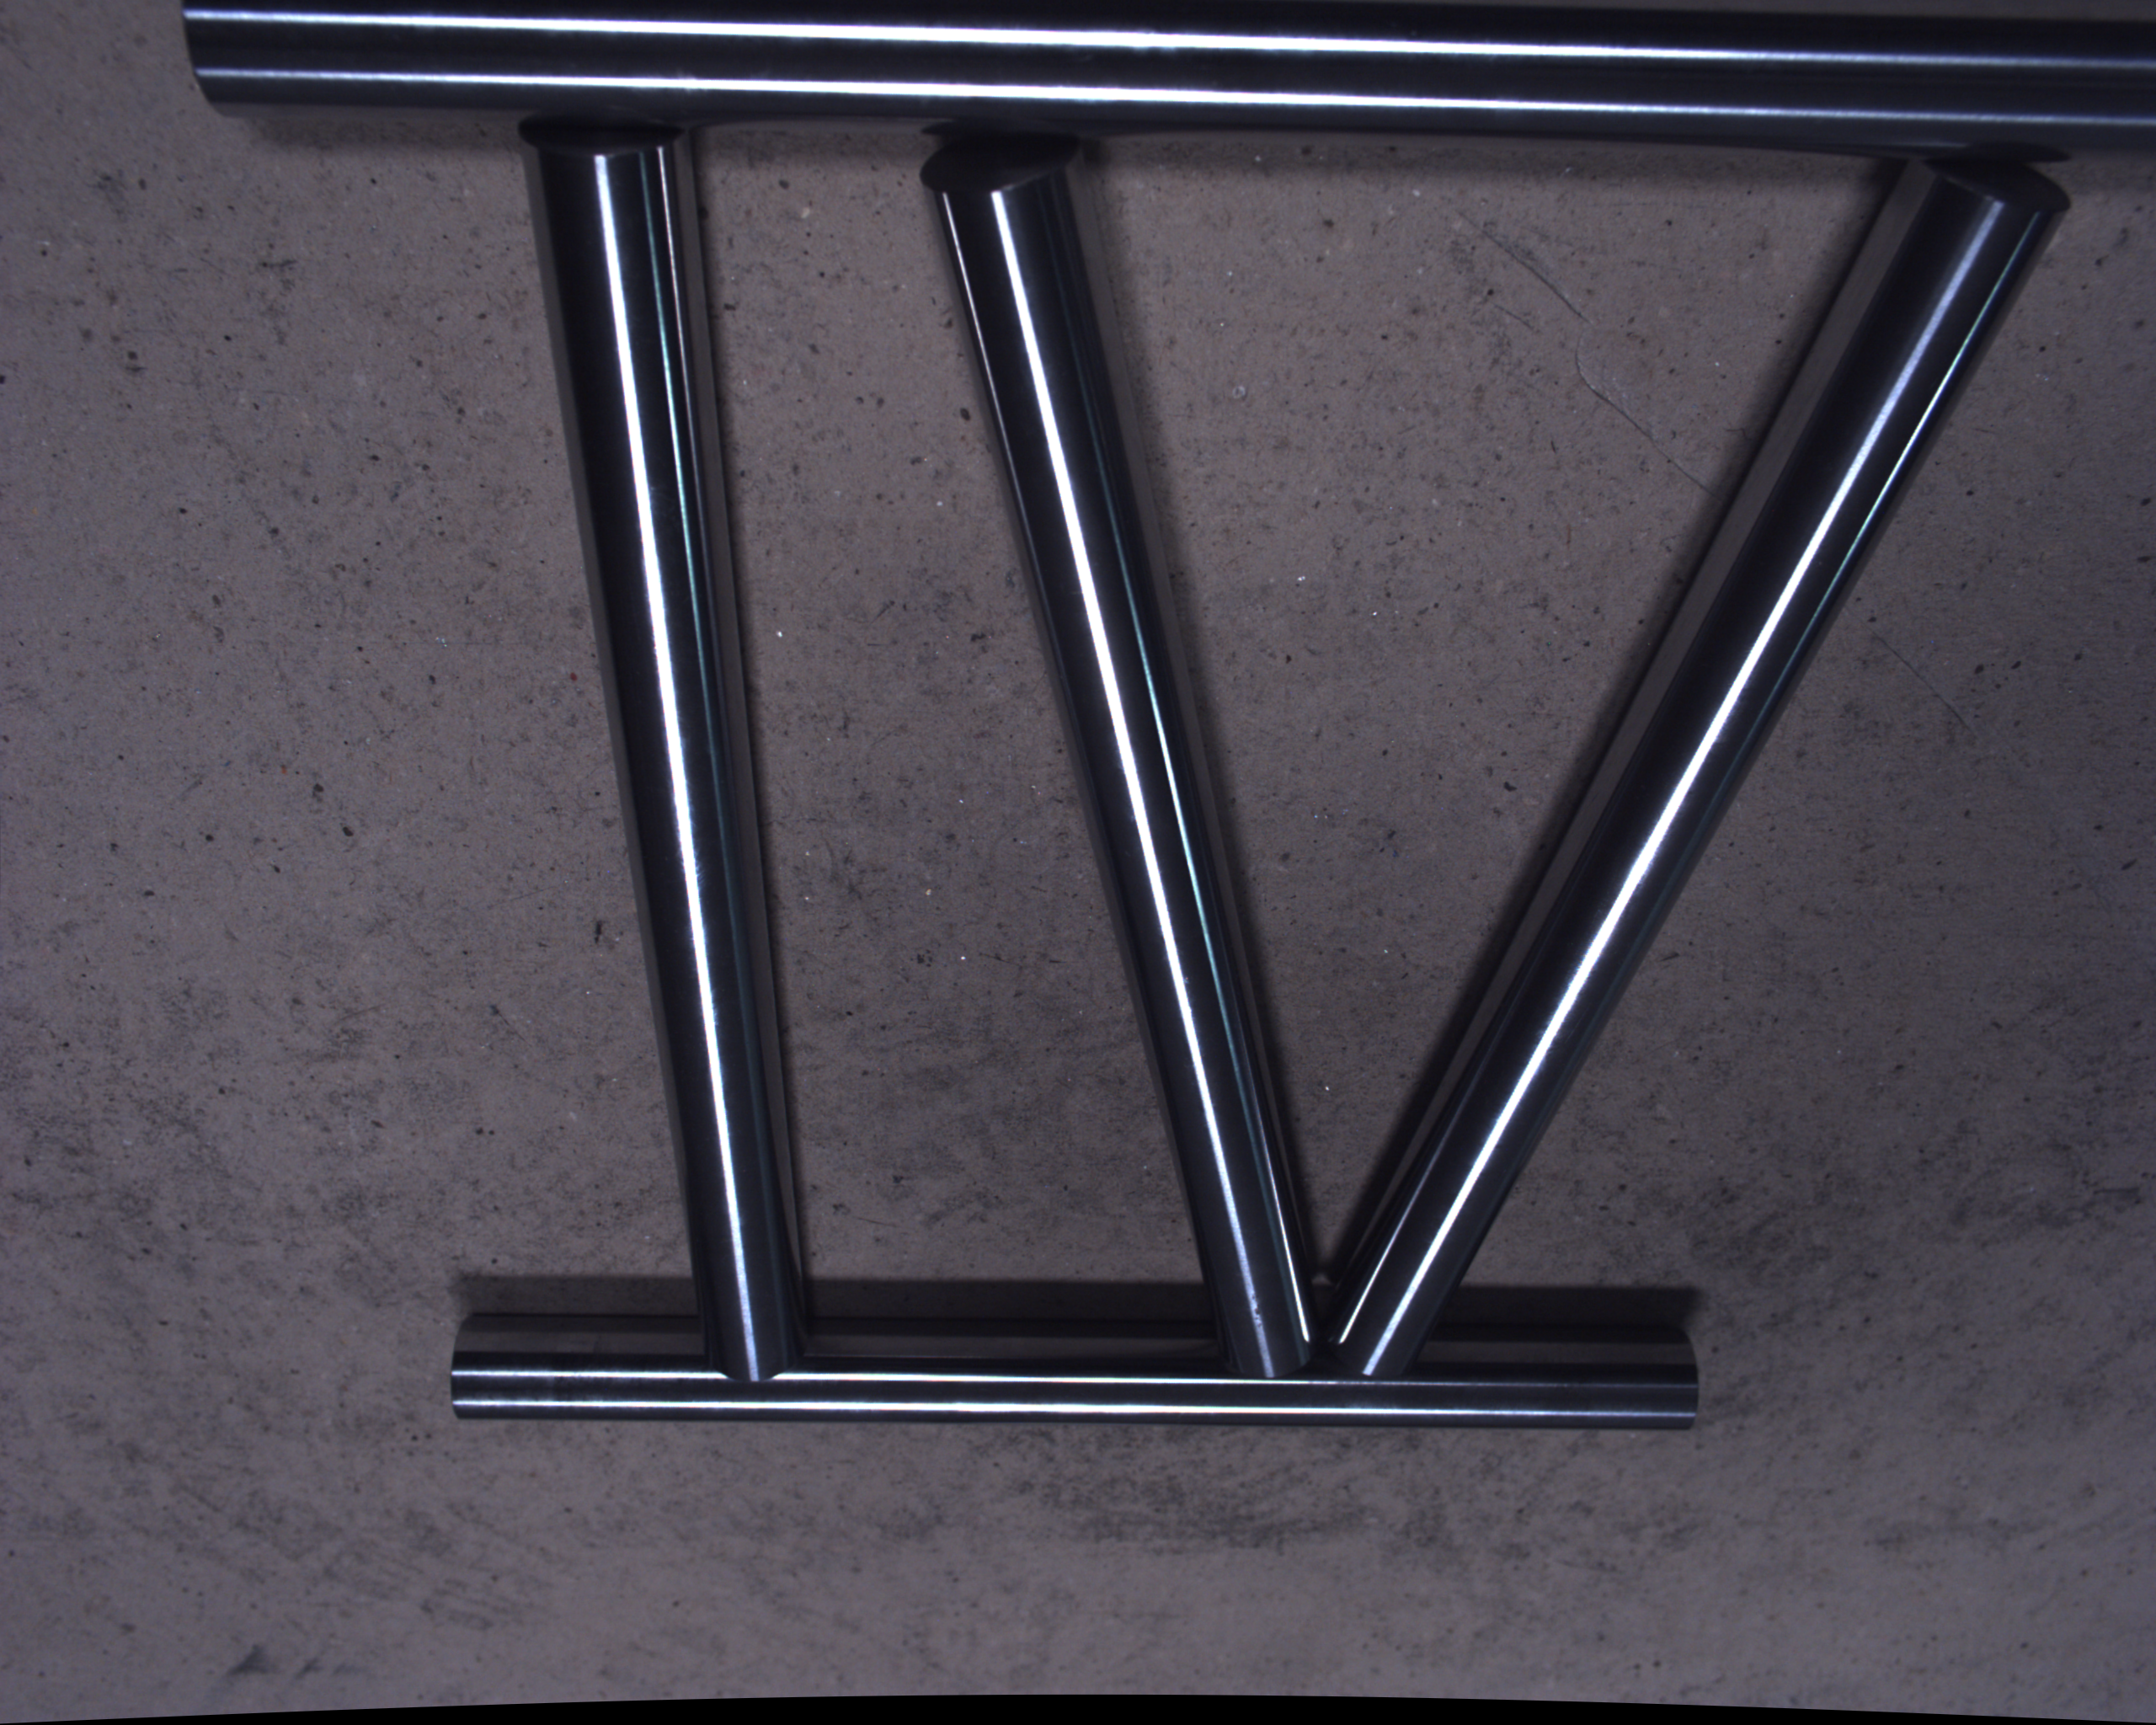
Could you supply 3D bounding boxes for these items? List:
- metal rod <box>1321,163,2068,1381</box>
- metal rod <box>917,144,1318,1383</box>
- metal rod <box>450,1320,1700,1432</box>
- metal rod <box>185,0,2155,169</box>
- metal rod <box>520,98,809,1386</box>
[{"bbox_3d":[0.105,0.005,0.413,0.025,0.025,0.298,10,129,-9],"label":"metal rod"},{"bbox_3d":[0.017,0.005,0.412,0.025,0.025,0.298,-9,130,7],"label":"metal rod"},{"bbox_3d":[0.000,0.127,0.516,0.302,0.025,0.025,1,130,-2],"label":"metal rod"},{"bbox_3d":[0.026,-0.119,0.308,0.302,0.025,0.025,1,130,-2],"label":"metal rod"},{"bbox_3d":[-0.074,0.003,0.409,0.025,0.025,0.298,1,130,-1],"label":"metal rod"}]
